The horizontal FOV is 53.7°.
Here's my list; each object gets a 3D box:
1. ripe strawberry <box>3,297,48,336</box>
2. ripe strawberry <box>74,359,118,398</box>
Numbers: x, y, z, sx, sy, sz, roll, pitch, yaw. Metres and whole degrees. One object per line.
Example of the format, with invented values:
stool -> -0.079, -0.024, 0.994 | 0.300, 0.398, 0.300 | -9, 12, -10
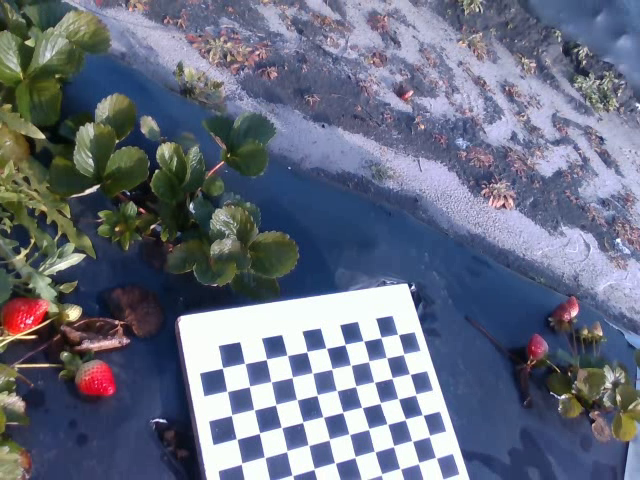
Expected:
ripe strawberry -> -0.271, 0.064, 0.574 | 0.049, 0.039, 0.032 | -30, -12, 11
ripe strawberry -> -0.207, 0.128, 0.576 | 0.035, 0.043, 0.029 | -47, -3, -34
